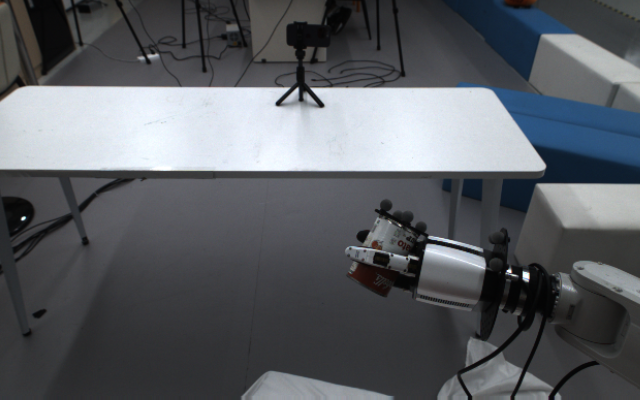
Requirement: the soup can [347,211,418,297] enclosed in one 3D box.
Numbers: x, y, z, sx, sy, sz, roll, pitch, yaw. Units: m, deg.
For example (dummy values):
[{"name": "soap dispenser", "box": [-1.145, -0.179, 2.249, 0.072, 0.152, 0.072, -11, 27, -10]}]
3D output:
[{"name": "soup can", "box": [0.092, 0.081, 0.704, 0.067, 0.101, 0.067, 28, -3, 1]}]
